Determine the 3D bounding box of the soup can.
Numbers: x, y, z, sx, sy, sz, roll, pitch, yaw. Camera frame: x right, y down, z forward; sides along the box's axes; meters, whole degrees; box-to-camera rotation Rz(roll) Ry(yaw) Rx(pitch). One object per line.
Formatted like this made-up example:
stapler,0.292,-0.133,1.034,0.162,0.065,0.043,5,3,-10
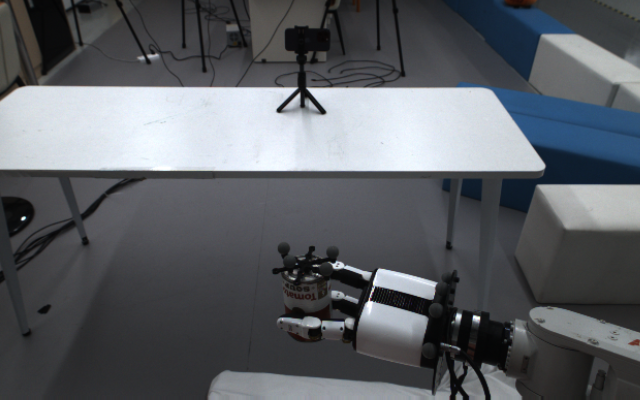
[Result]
soup can,-0.014,0.135,0.670,0.067,0.101,0.067,-3,27,2
